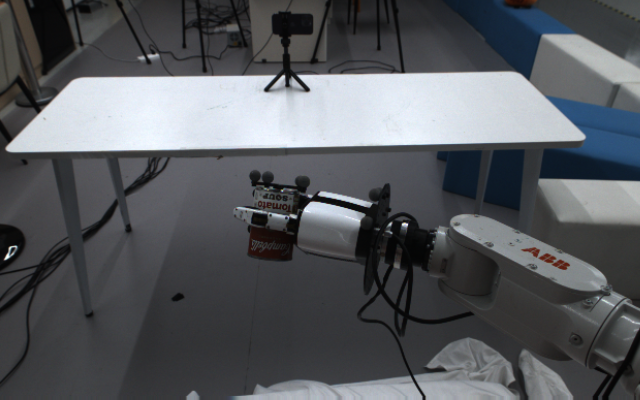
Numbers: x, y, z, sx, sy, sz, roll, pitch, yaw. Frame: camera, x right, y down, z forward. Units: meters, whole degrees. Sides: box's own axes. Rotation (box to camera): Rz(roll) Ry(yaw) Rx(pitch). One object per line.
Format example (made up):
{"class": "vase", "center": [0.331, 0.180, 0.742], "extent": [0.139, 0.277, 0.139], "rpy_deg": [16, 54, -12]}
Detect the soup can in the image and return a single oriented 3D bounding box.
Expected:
{"class": "soup can", "center": [-0.067, 0.034, 0.710], "extent": [0.067, 0.101, 0.067], "rpy_deg": [7, 3, 0]}
